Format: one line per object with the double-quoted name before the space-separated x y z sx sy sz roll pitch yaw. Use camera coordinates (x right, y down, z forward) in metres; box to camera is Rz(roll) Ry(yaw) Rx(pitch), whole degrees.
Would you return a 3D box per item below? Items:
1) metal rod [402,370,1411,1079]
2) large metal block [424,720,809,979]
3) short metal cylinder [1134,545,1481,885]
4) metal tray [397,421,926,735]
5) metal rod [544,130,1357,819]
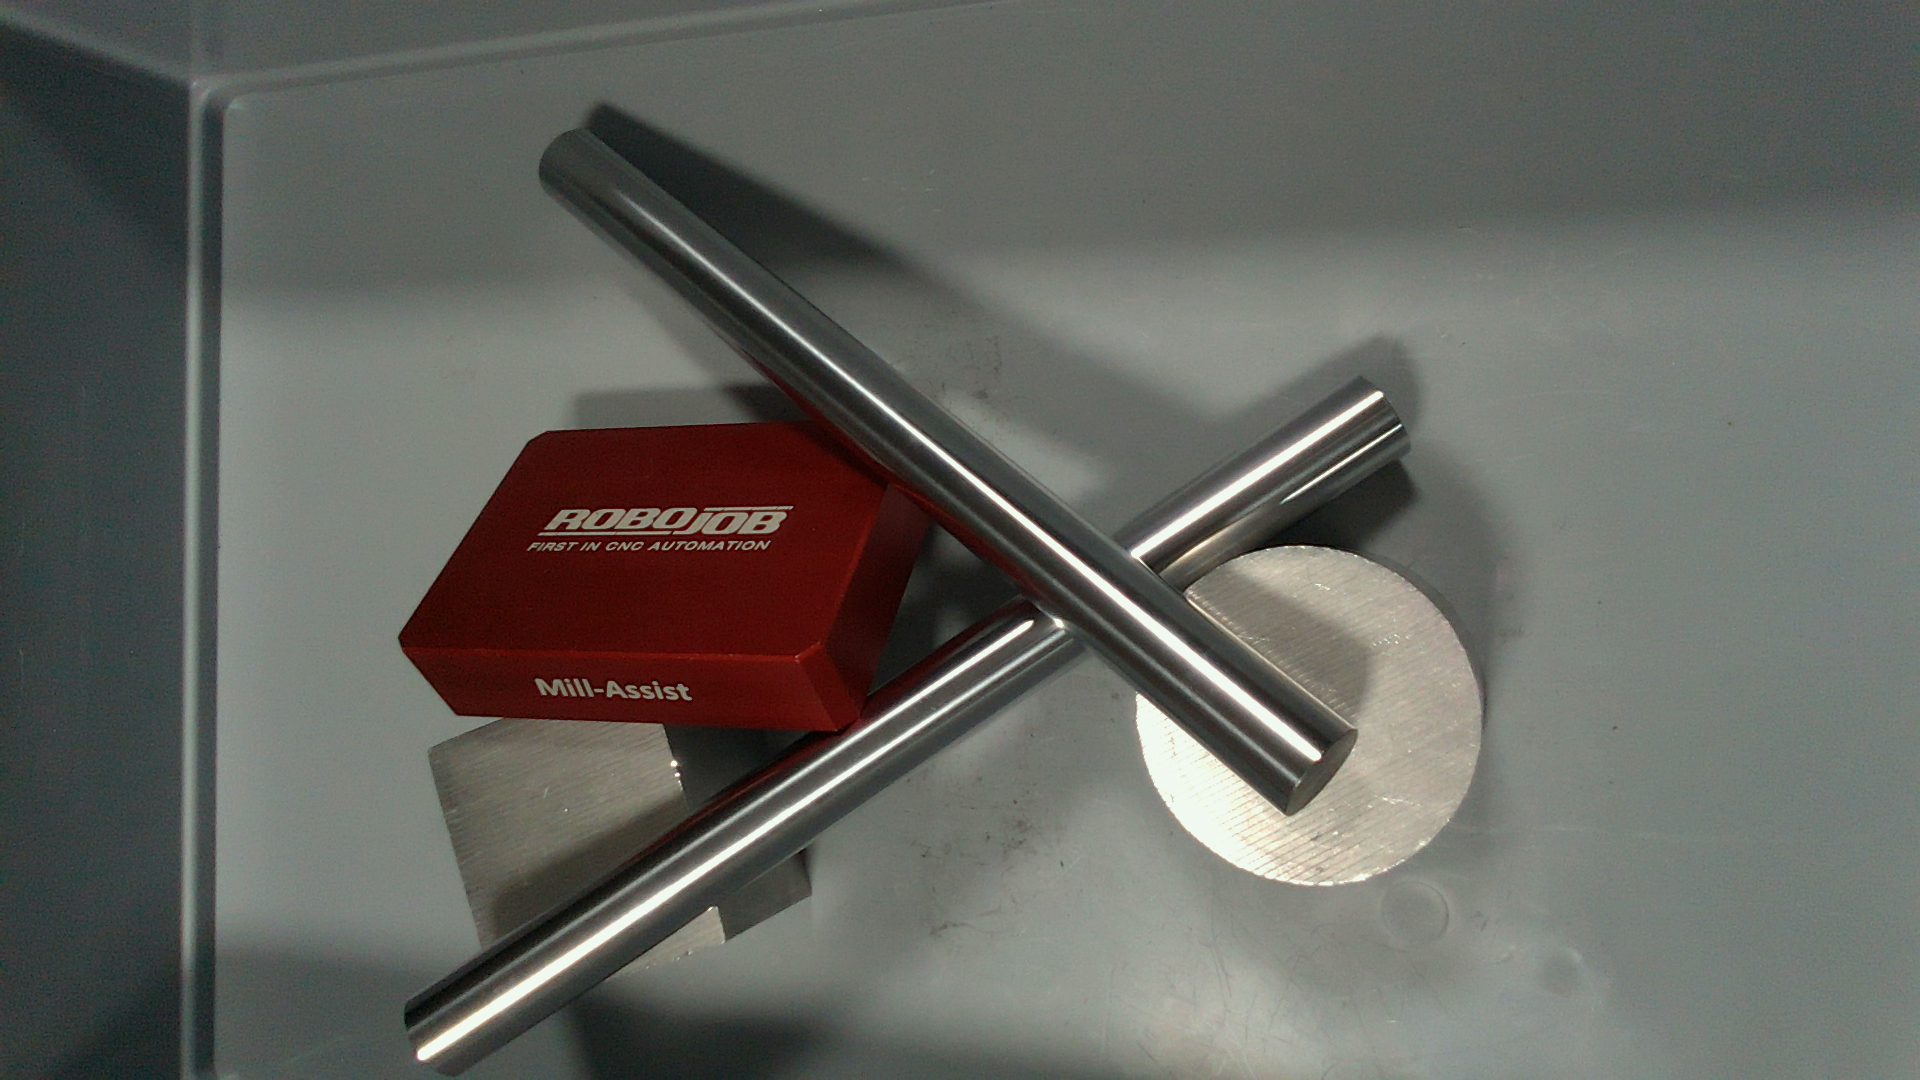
"metal rod" -0.016 0.050 0.361 0.300 0.025 0.025 -34 79 3
"large metal block" -0.103 0.087 0.415 0.080 0.050 0.080 -21 83 19
"short metal cylinder" 0.089 0.041 0.348 0.080 0.050 0.080 0 90 20
"metal tray" -0.081 0.008 0.392 0.130 0.030 0.090 0 46 21
"metal rod" -0.022 -0.034 0.371 0.299 0.025 0.025 40 103 28
